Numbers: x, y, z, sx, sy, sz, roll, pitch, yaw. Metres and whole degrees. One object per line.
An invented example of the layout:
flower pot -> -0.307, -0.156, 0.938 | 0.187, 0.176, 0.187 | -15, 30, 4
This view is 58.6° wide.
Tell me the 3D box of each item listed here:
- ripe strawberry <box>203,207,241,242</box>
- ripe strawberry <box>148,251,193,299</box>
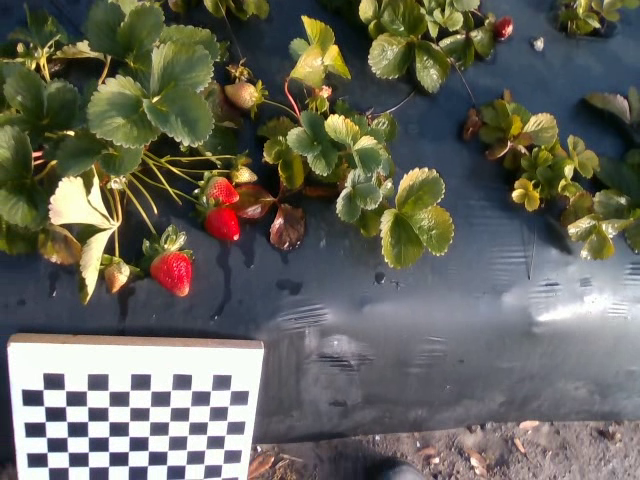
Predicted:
ripe strawberry -> -0.117, -0.016, 0.700 | 0.055, 0.045, 0.041 | 45, 17, 29
ripe strawberry -> -0.174, 0.042, 0.671 | 0.050, 0.065, 0.050 | -31, -30, 6
